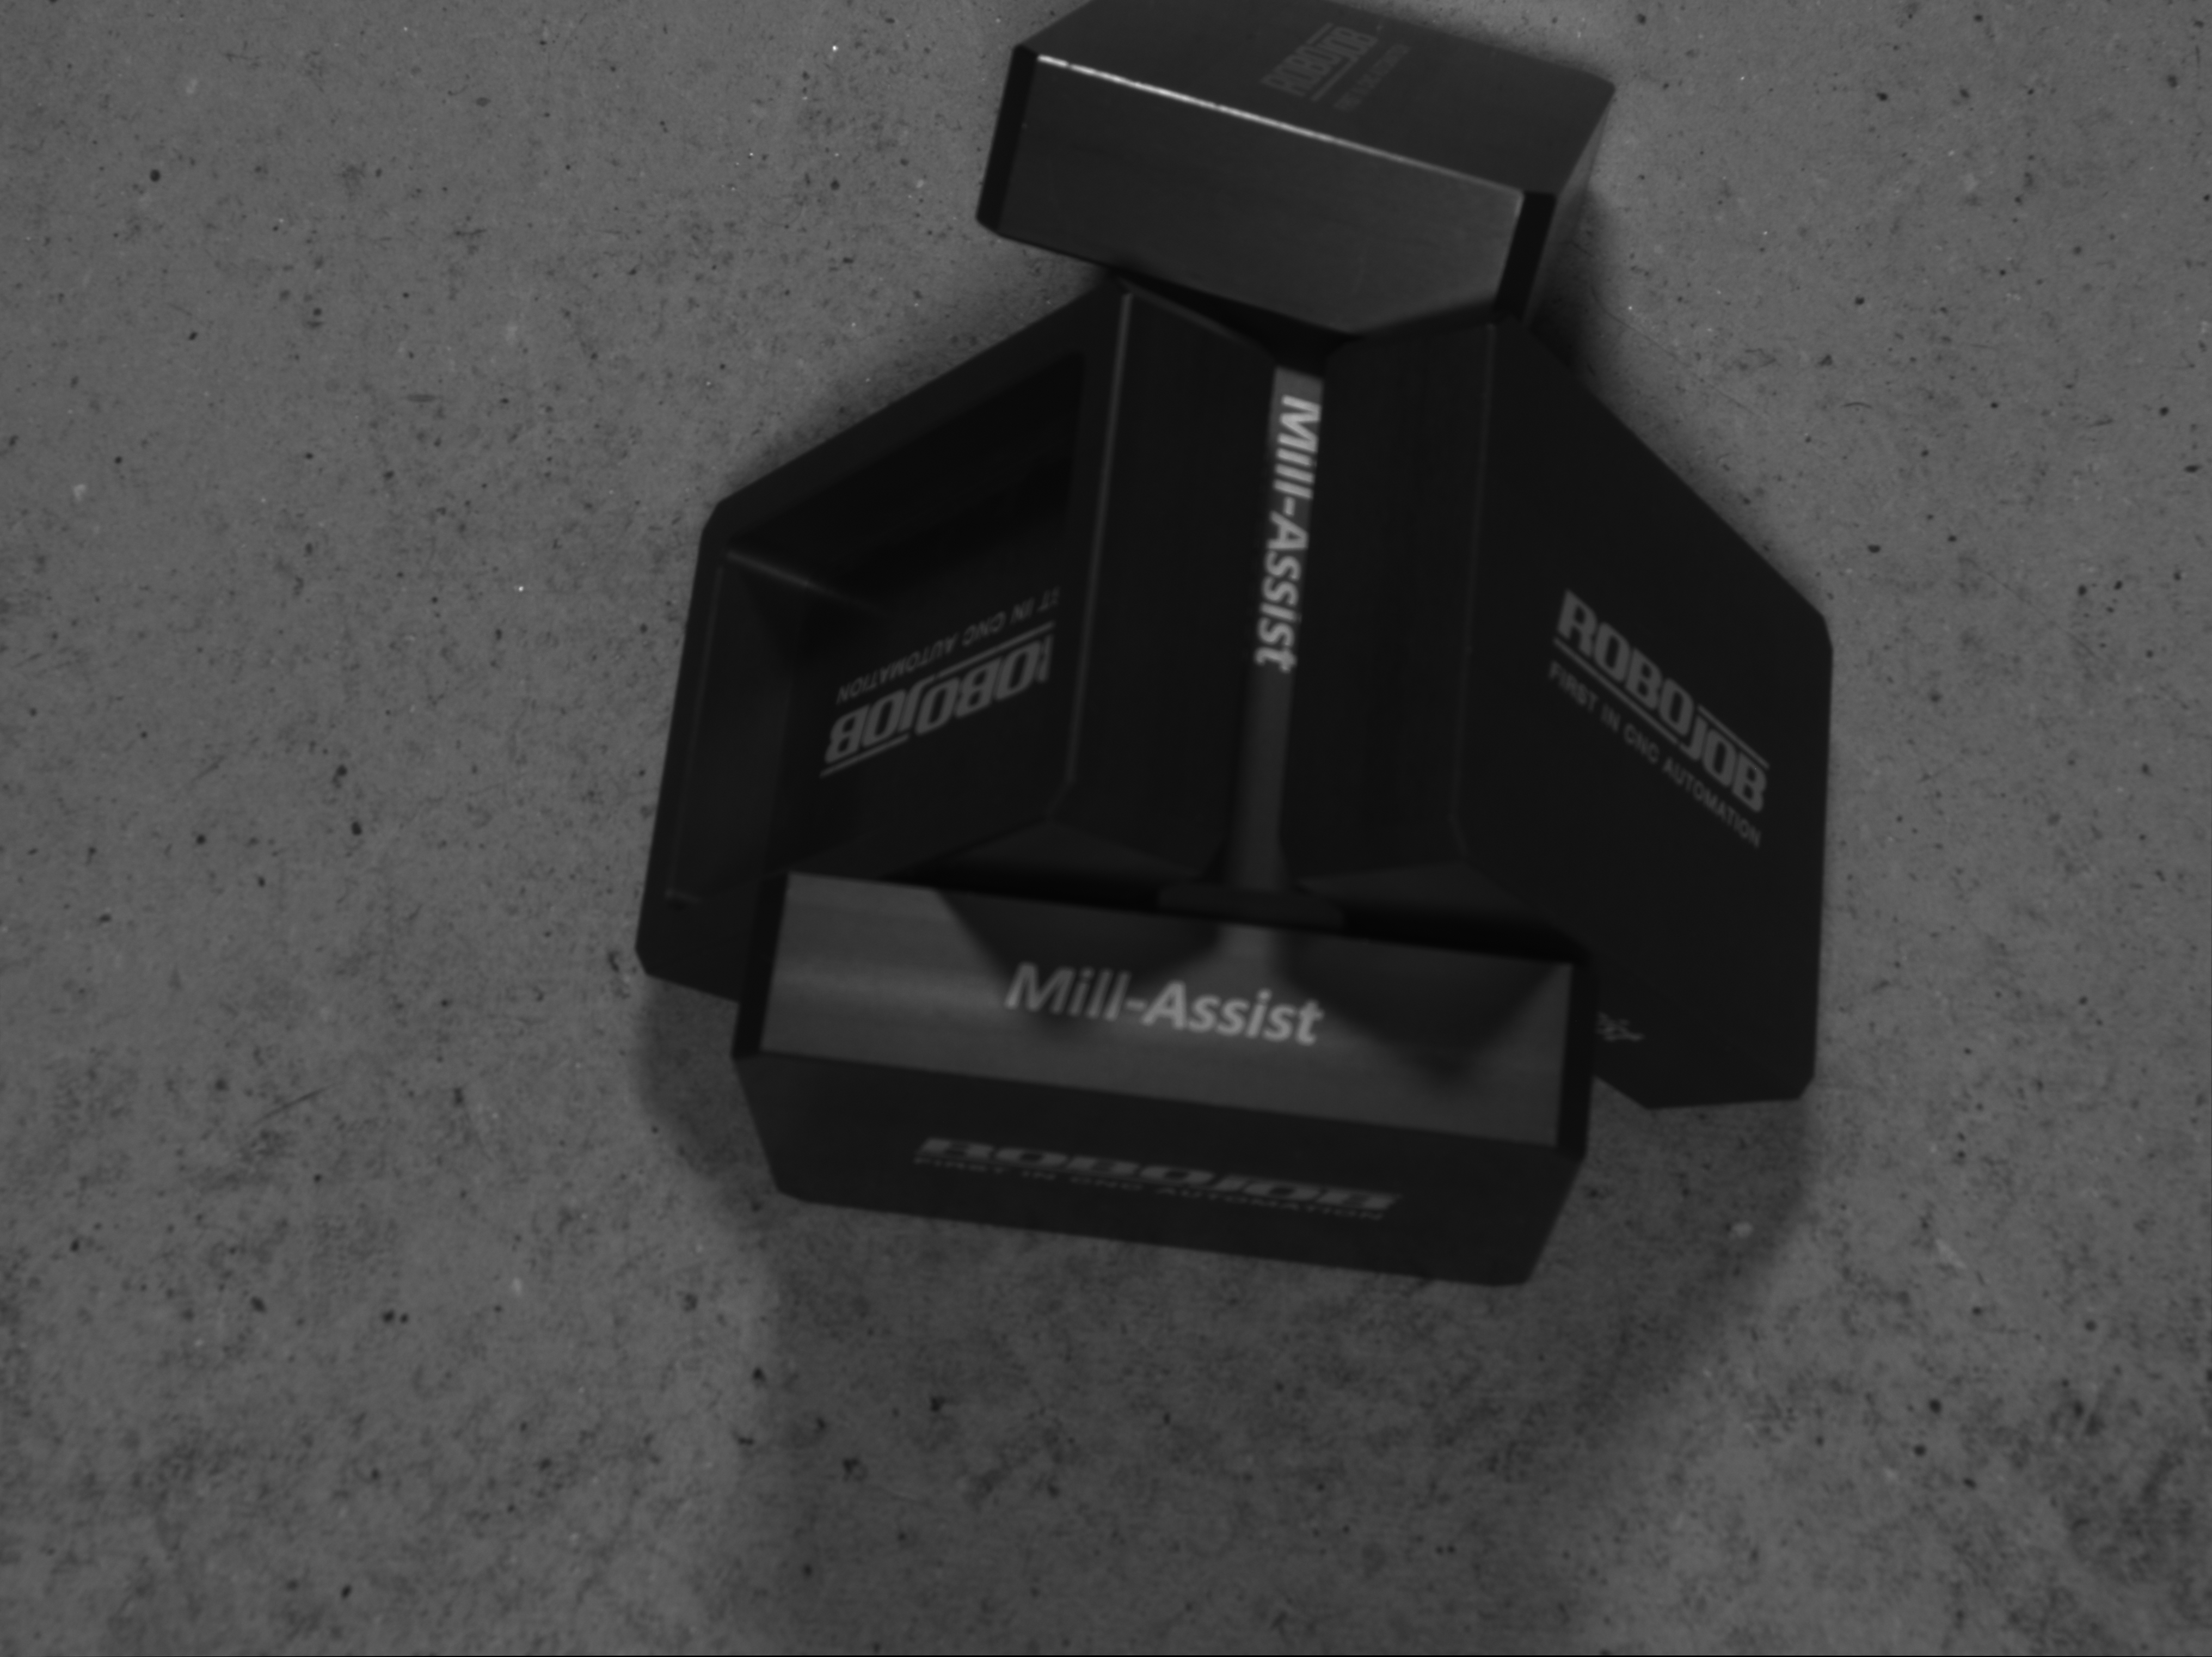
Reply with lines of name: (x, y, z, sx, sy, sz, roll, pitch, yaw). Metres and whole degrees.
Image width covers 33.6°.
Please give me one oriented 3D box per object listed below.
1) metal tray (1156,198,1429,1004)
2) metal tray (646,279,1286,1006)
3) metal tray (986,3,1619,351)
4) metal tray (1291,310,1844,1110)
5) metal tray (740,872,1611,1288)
metal tray: (0.031, -0.032, 0.622, 0.030, 0.090, 0.130, 7, 70, 3)
metal tray: (-0.026, -0.025, 0.603, 0.030, 0.130, 0.090, 20, 66, -31)
metal tray: (0.039, -0.119, 0.640, 0.090, 0.130, 0.030, 17, 112, 6)
metal tray: (0.079, -0.015, 0.597, 0.030, 0.130, 0.090, -7, 66, 33)
metal tray: (0.011, 0.043, 0.594, 0.130, 0.090, 0.030, 7, 70, 2)
